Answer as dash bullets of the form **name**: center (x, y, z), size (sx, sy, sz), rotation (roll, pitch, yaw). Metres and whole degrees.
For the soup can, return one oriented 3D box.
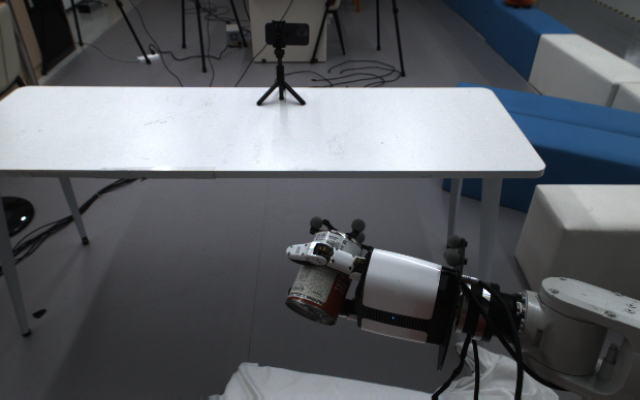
- **soup can**: center (0.009, 0.095, 0.609), size (0.067, 0.067, 0.101), rotation (15, 63, 18)
